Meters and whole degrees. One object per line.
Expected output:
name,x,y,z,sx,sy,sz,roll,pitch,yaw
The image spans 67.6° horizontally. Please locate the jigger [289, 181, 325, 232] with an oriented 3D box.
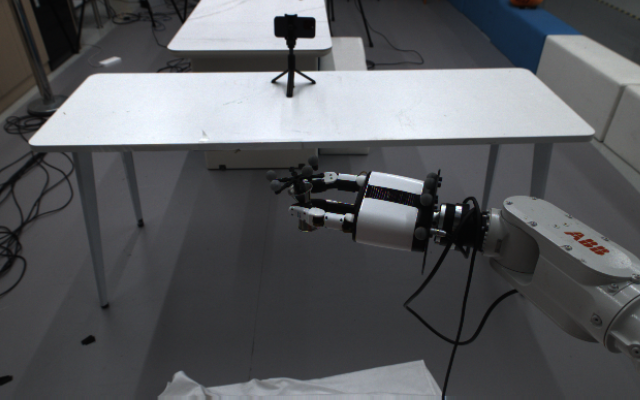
jigger,-0.021,0.011,0.760,0.043,0.071,0.043,-12,29,7
